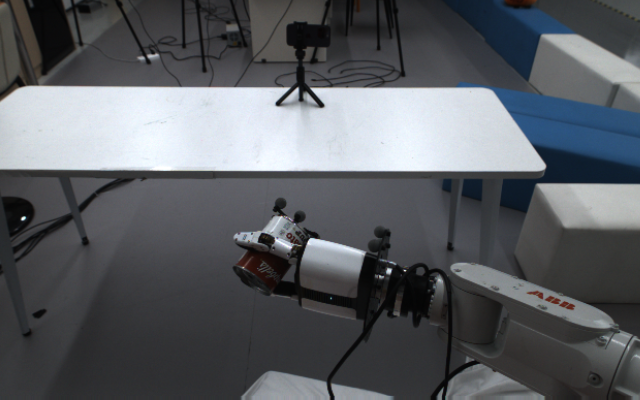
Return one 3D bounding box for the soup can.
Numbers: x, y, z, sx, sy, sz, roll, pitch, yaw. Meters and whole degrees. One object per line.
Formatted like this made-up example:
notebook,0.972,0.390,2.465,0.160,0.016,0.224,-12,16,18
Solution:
soup can,-0.070,0.079,0.706,0.067,0.067,0.101,22,60,27
